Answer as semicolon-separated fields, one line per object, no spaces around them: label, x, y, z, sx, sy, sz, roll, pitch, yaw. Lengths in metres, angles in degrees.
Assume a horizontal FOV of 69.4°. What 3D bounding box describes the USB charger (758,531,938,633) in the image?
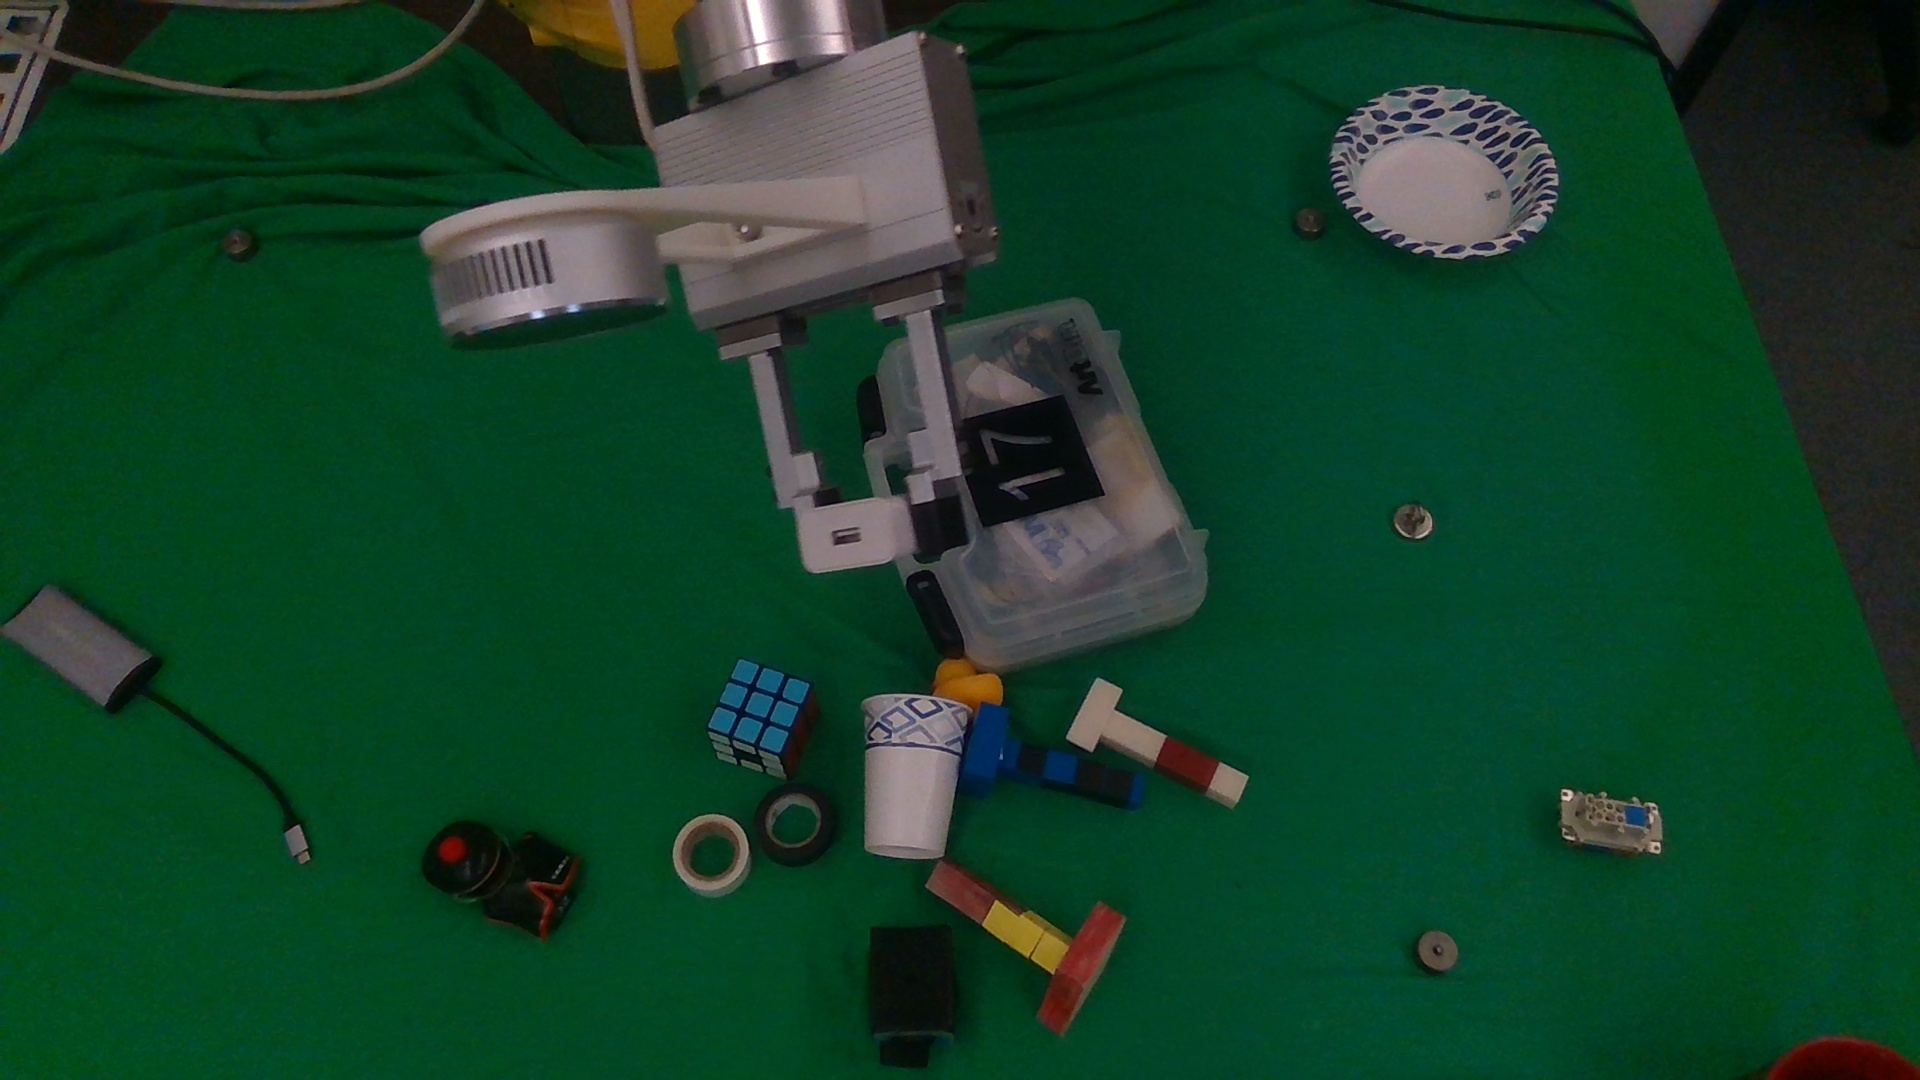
USB charger;-0.037;0.013;0.522;0.045;0.075;0.029;0;100;35

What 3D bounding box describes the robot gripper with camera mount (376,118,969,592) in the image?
robot gripper with camera mount;-0.087;-0.051;0.443;0.119;0.193;0.158;-10;90;29
